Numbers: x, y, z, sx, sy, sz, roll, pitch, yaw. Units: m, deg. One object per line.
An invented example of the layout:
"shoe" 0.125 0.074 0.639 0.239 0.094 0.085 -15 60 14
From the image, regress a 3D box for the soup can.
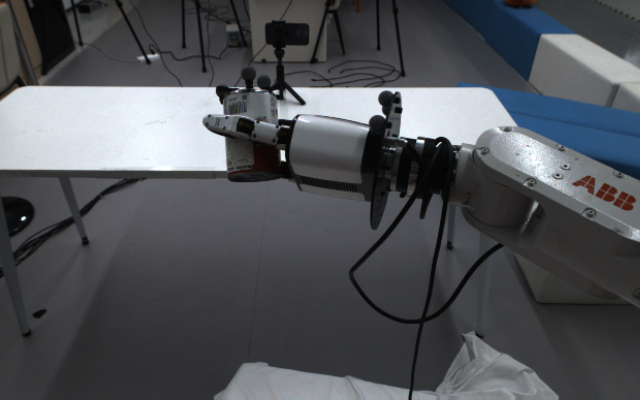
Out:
"soup can" -0.081 -0.076 0.591 0.067 0.101 0.067 -5 -5 0
